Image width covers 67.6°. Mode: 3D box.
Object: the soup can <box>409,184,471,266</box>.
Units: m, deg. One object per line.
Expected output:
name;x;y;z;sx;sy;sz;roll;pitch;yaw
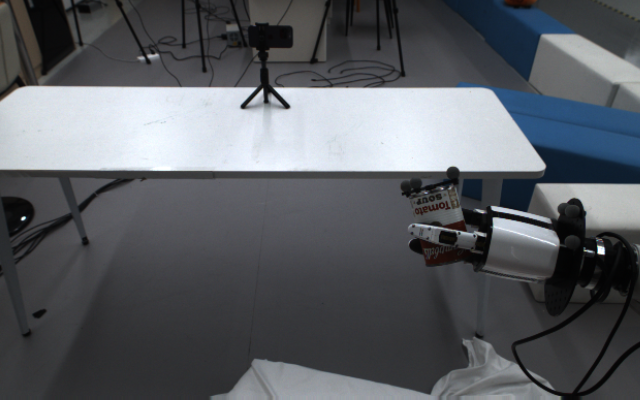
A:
soup can;0.170;0.035;0.678;0.067;0.101;0.067;-14;-2;-1
